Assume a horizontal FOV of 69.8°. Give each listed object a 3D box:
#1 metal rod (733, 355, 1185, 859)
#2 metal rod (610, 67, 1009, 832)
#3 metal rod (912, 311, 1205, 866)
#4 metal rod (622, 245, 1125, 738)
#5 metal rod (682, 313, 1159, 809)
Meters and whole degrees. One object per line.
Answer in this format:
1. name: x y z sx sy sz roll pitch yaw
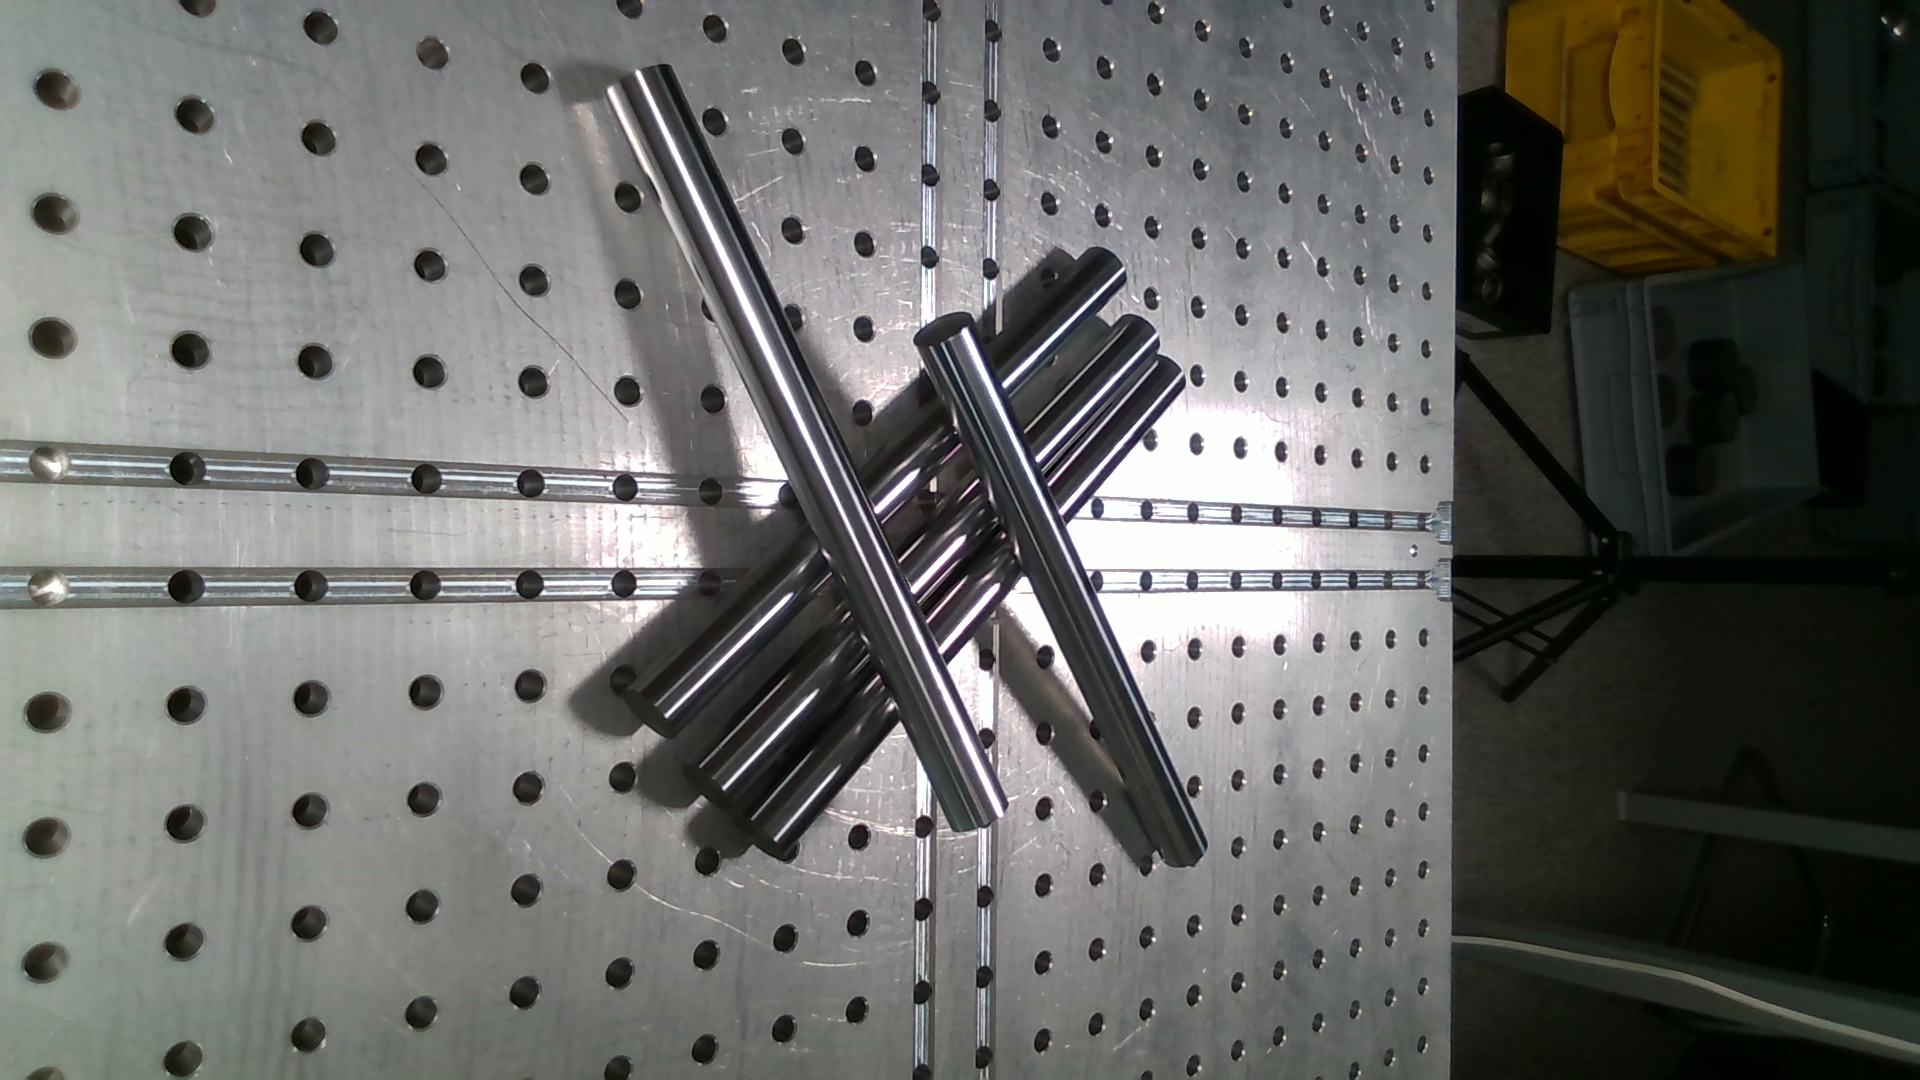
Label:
1. metal rod: 0.011 0.016 0.595 0.299 0.025 0.025 -48 118 -30
2. metal rod: -0.053 -0.028 0.514 0.025 0.025 0.300 -31 101 -36
3. metal rod: 0.051 0.035 0.603 0.025 0.025 0.301 -47 126 -30
4. metal rod: -0.022 -0.032 0.567 0.299 0.025 0.025 -47 118 -30
5. metal rod: -0.005 -0.004 0.582 0.299 0.025 0.025 -47 118 -30
